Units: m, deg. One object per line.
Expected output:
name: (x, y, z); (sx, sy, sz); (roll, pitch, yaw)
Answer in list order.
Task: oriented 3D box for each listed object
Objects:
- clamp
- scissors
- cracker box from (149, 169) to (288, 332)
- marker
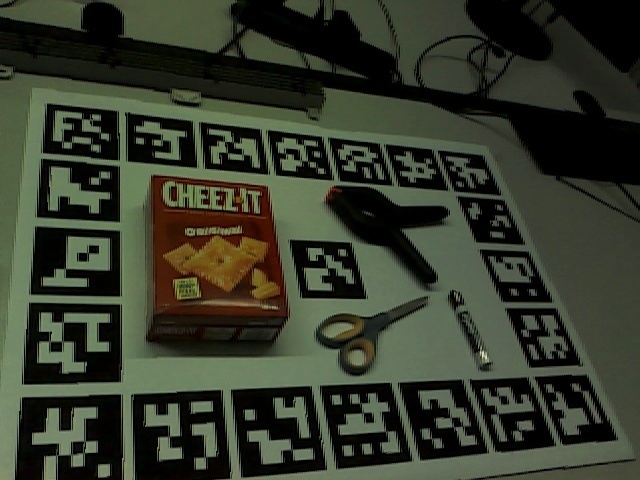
clamp: (0.095, -0.041, 0.992); (0.203, 0.037, 0.165); (27, 46, -2)
scissors: (0.084, 0.104, 0.862); (0.202, 0.016, 0.088); (-24, 64, -39)
cracker box: (-0.138, 0.011, 0.807); (0.163, 0.072, 0.214); (4, 52, -20)
marker: (0.217, 0.115, 0.910); (0.019, 0.019, 0.121); (0, 52, -23)
